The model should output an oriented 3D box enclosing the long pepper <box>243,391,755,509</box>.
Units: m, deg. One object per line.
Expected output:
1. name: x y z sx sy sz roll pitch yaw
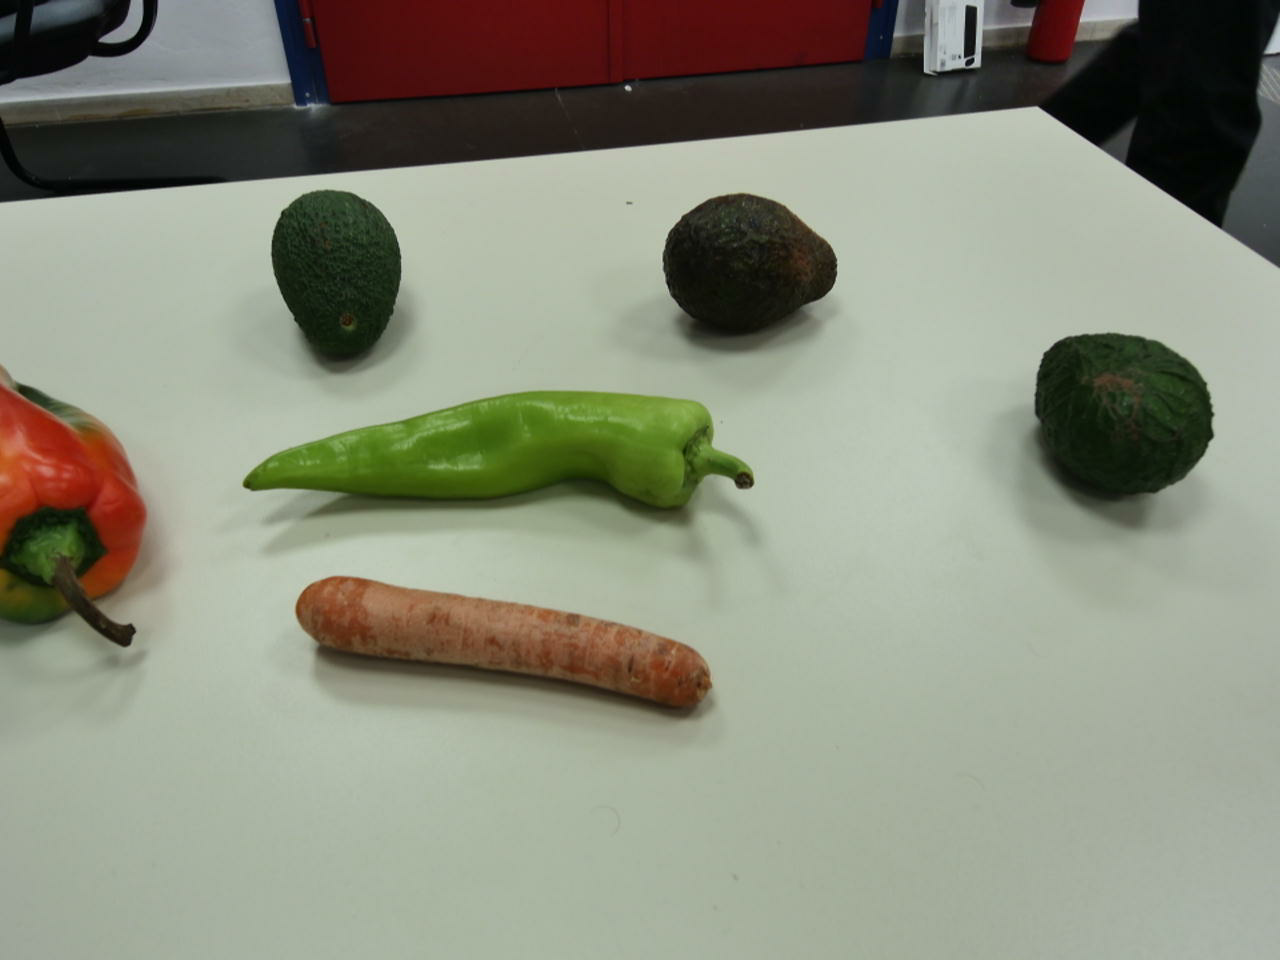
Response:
1. long pepper: -0.055 -0.013 0.421 0.205 0.045 0.065 2 38 2
